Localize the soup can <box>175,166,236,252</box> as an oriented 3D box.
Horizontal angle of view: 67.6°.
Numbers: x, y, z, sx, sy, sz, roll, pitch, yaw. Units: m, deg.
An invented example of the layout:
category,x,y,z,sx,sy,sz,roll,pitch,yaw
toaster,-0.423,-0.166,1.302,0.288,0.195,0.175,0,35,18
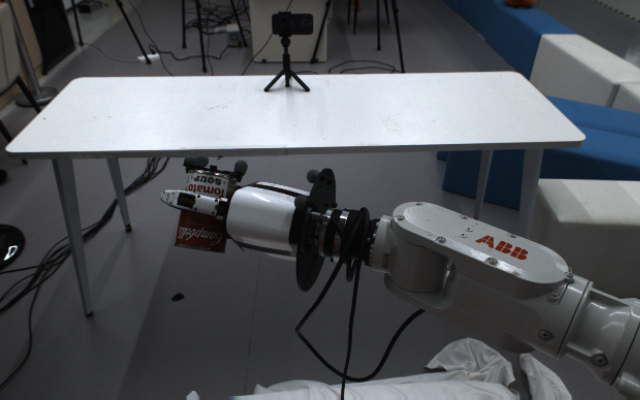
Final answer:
category,x,y,z,sx,sy,sz,roll,pitch,yaw
soup can,-0.152,0.017,0.646,0.067,0.101,0.067,9,-6,1
